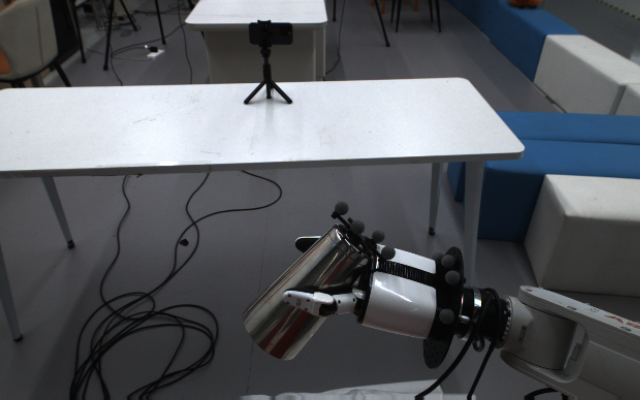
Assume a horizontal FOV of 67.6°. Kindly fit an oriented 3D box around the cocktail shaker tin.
[{"bbox_3d":[-0.012,0.109,0.630,0.093,0.170,0.093,41,14,-12],"label":"cocktail shaker tin"}]
